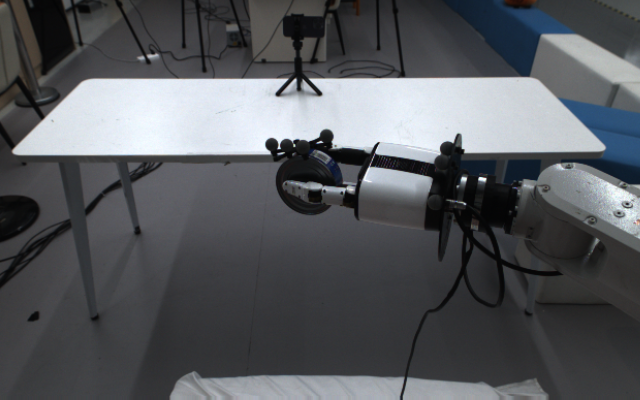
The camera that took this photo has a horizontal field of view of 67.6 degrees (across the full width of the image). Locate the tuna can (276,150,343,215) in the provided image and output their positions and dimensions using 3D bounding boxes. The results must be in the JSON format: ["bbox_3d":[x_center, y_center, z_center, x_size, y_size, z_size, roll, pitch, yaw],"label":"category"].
[{"bbox_3d":[-0.011,-0.020,0.648,0.085,0.085,0.034,13,28,15],"label":"tuna can"}]
